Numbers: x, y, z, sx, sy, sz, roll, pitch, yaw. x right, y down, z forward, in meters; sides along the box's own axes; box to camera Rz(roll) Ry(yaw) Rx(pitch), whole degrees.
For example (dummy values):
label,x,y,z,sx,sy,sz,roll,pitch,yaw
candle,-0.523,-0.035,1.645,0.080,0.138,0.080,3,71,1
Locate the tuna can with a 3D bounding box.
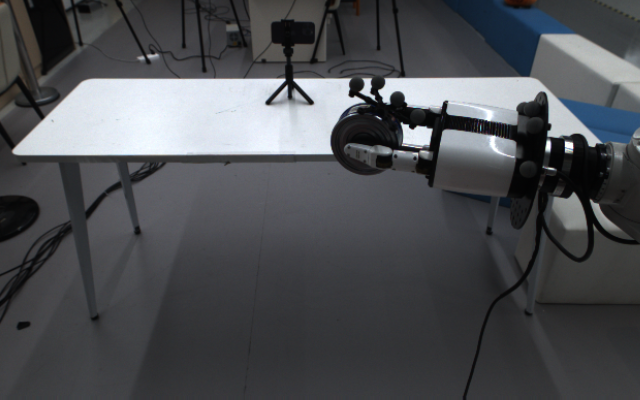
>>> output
label,x,y,z,sx,sy,sz,roll,pitch,yaw
tuna can,0.061,-0.068,0.594,0.085,0.085,0.034,12,35,14
